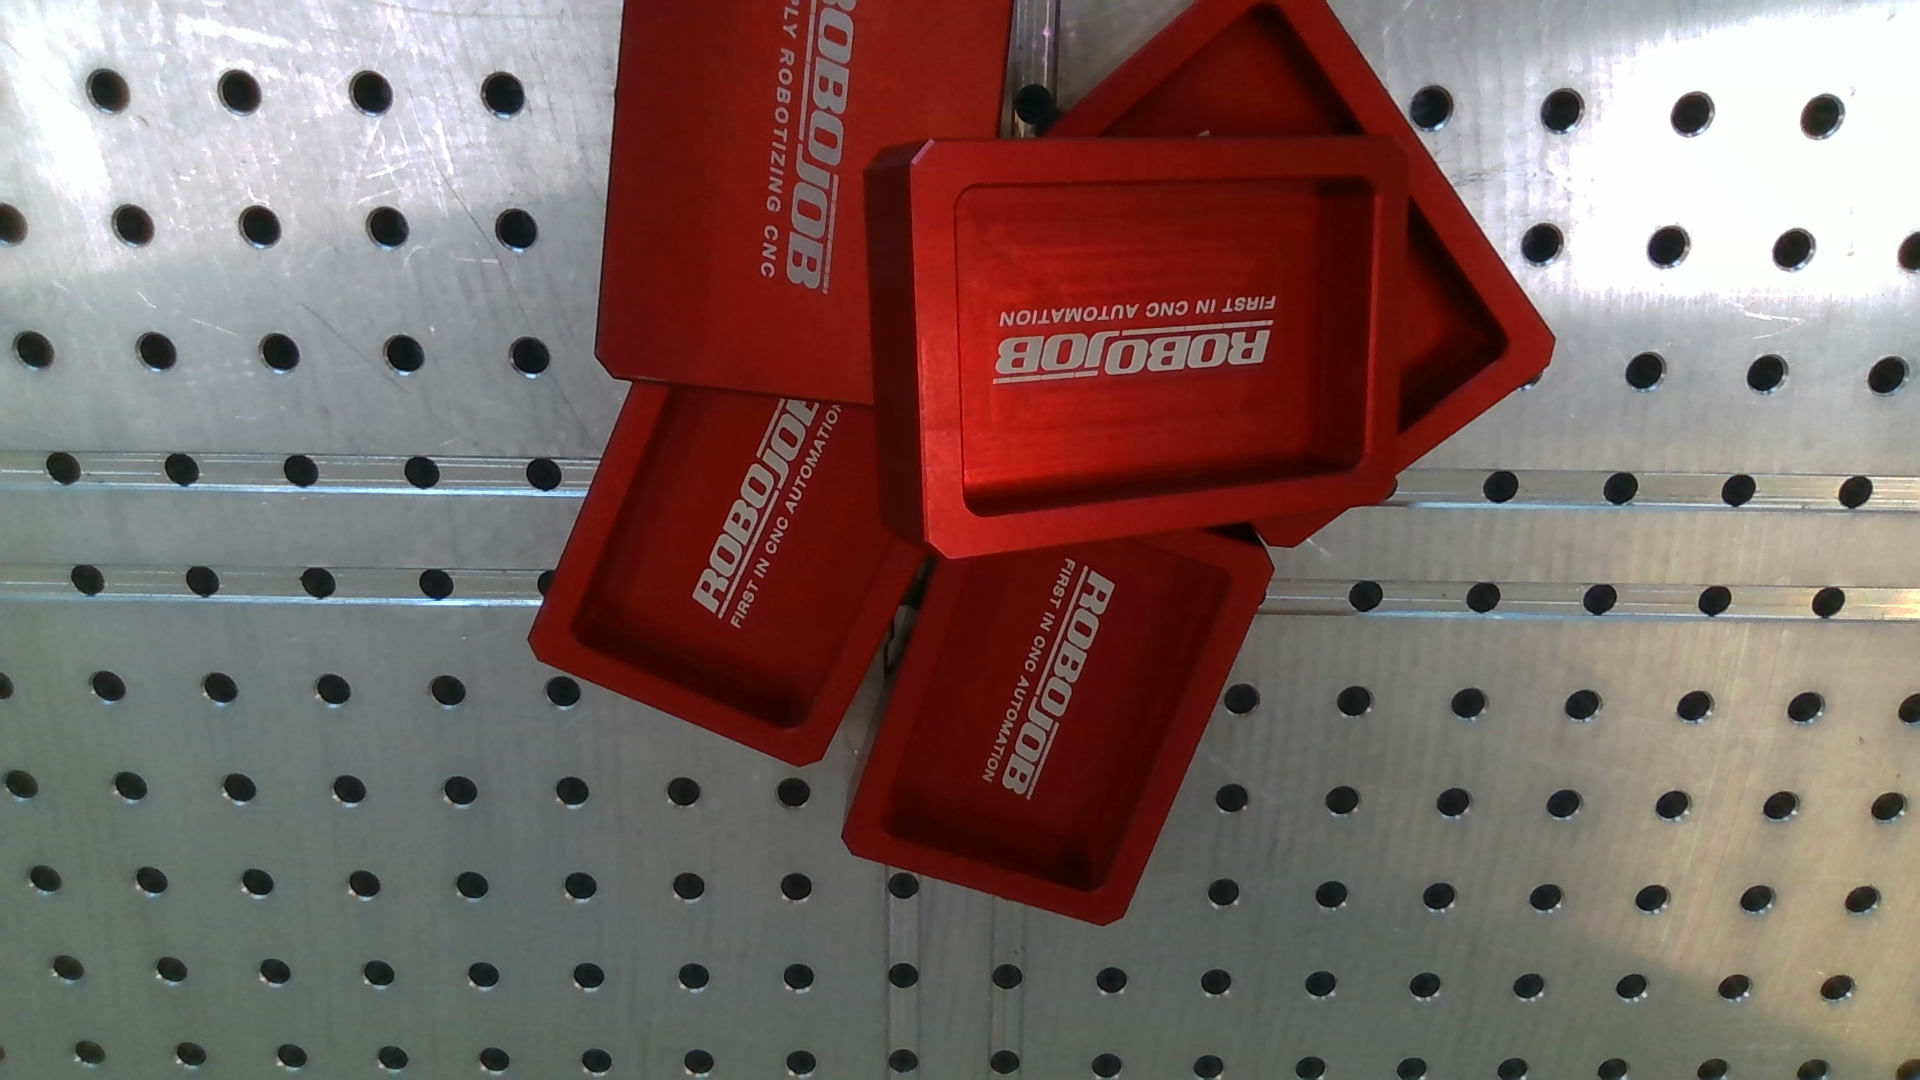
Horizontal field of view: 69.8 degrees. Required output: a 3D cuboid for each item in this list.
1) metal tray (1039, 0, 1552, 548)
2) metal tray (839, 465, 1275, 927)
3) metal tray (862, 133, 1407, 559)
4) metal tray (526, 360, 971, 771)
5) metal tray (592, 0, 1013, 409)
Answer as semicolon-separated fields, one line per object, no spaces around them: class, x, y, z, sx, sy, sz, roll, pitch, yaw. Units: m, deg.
metal tray;0.081;-0.074;0.365;0.090;0.030;0.130;-38;106;12
metal tray;0.026;0.043;0.407;0.090;0.030;0.130;17;109;-6
metal tray;0.045;-0.049;0.329;0.130;0.030;0.090;-7;104;-23
metal tray;-0.056;-0.009;0.388;0.090;0.030;0.130;24;108;-8
metal tray;-0.036;-0.100;0.338;0.090;0.030;0.130;7;96;-2
